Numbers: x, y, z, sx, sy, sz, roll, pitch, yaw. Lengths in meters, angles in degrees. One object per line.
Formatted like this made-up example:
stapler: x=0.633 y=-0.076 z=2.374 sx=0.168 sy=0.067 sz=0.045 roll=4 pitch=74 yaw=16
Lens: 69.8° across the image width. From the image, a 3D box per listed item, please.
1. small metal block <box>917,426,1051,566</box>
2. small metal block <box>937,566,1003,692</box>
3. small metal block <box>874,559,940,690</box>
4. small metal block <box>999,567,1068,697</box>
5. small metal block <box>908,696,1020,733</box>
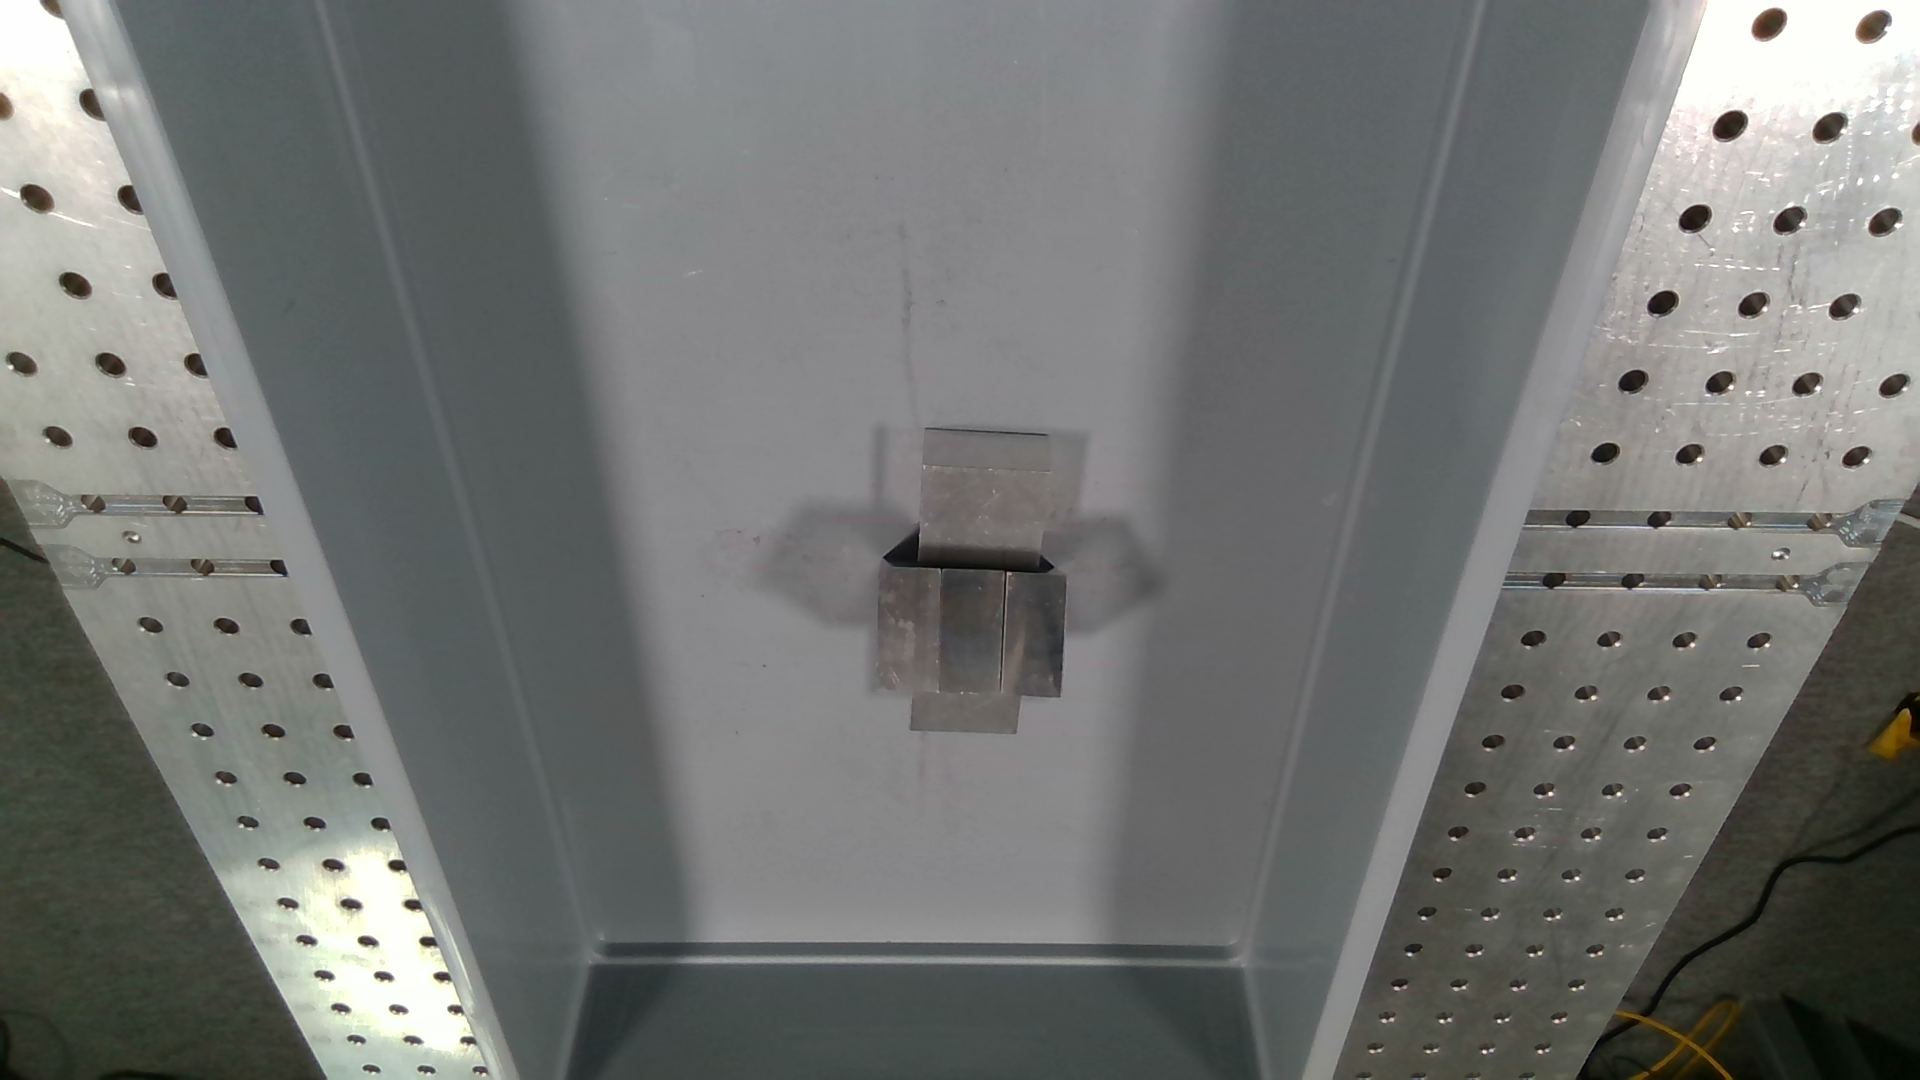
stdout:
small metal block: x=0.009 y=-0.018 z=0.563 sx=0.050 sy=0.025 sz=0.050 roll=3 pitch=130 yaw=-2
small metal block: x=0.003 y=0.035 z=0.577 sx=0.025 sy=0.050 sz=0.050 roll=2 pitch=94 yaw=-2
small metal block: x=-0.022 y=0.033 z=0.576 sx=0.025 sy=0.050 sz=0.050 roll=2 pitch=94 yaw=-2
small metal block: x=0.029 y=0.036 z=0.578 sx=0.025 sy=0.050 sz=0.050 roll=2 pitch=94 yaw=-3
small metal block: x=0.002 y=0.061 z=0.629 sx=0.050 sy=0.025 sz=0.050 roll=2 pitch=130 yaw=-2
